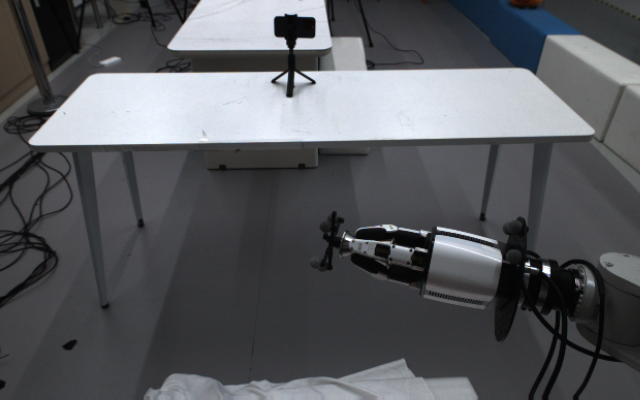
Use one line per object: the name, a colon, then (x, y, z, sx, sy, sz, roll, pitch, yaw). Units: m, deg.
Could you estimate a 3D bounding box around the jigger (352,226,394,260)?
jigger: (0.071, 0.063, 0.660, 0.071, 0.043, 0.043, 10, 35, 16)
